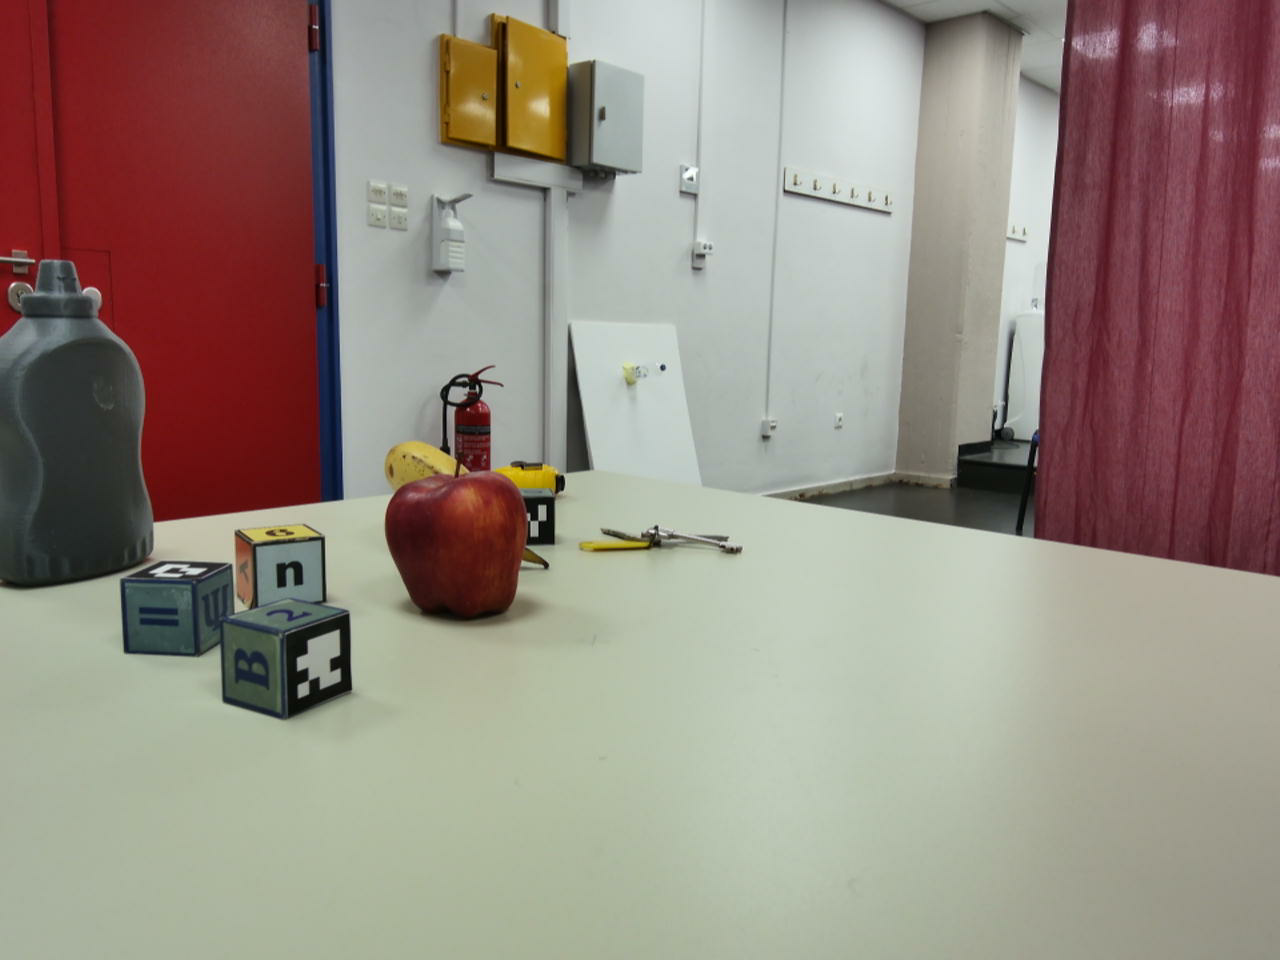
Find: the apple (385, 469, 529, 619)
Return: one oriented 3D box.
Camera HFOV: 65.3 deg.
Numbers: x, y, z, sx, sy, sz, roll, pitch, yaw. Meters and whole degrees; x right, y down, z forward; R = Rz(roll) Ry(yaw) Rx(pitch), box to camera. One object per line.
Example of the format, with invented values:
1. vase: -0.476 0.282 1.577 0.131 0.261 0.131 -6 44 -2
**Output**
1. apple: -0.103 0.030 0.571 0.083 0.090 0.083 2 7 0
